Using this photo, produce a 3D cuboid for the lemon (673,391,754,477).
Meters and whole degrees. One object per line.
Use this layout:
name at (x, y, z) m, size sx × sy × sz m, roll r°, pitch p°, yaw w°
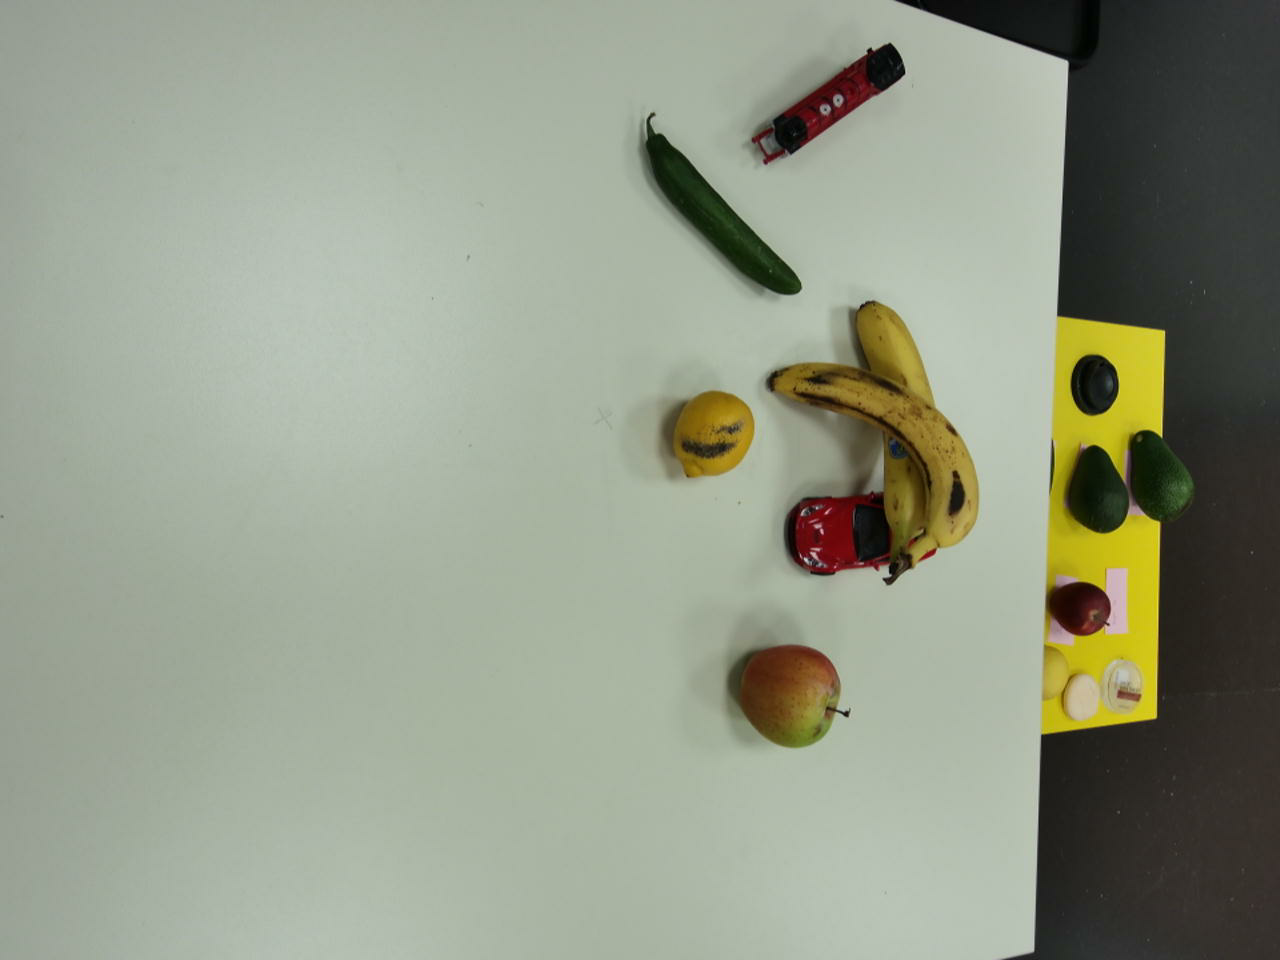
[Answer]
lemon at (0.053, -0.033, 0.719) m, size 0.058 × 0.056 × 0.061 m, roll -5°, pitch 93°, yaw -28°
